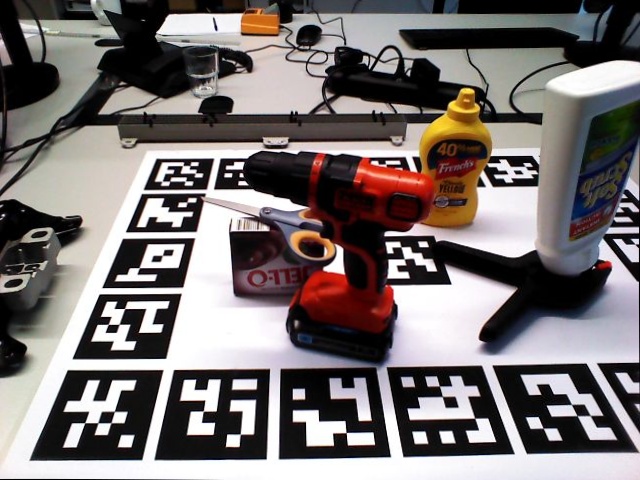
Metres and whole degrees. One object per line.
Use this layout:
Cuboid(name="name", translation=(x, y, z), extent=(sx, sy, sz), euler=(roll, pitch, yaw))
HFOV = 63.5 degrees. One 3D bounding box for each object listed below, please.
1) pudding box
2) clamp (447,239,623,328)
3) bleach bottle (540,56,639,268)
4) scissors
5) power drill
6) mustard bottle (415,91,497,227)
Cuboid(name="pudding box", translation=(-0.052, 0.013, 0.620), extent=(0.114, 0.090, 0.038), euler=(2, 32, 1))
Cuboid(name="clamp", translation=(0.265, 0.031, 0.620), extent=(0.203, 0.037, 0.164), euler=(-4, 40, -8))
Cuboid(name="bleach bottle", translation=(0.300, -0.061, 0.568), extent=(0.102, 0.251, 0.068), euler=(-18, 38, -11))
Cuboid(name="scissors", translation=(-0.060, -0.041, 0.586), extent=(0.203, 0.016, 0.087), euler=(19, 46, 15))
Cuboid(name="power drill", translation=(0.011, 0.004, 0.508), extent=(0.185, 0.187, 0.057), euler=(6, 32, 11))
Cuboid(name="mustard bottle", translation=(0.187, -0.109, 0.705), extent=(0.096, 0.192, 0.058), euler=(9, 39, 9))
